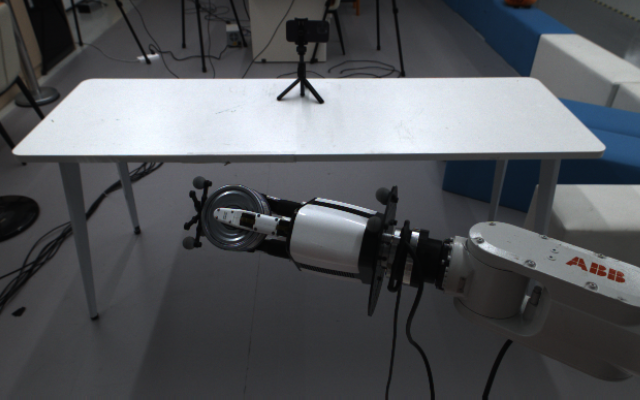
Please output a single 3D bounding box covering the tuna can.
[{"bbox_3d":[-0.105,0.022,0.622,0.085,0.085,0.034,10,-6,11],"label":"tuna can"}]
